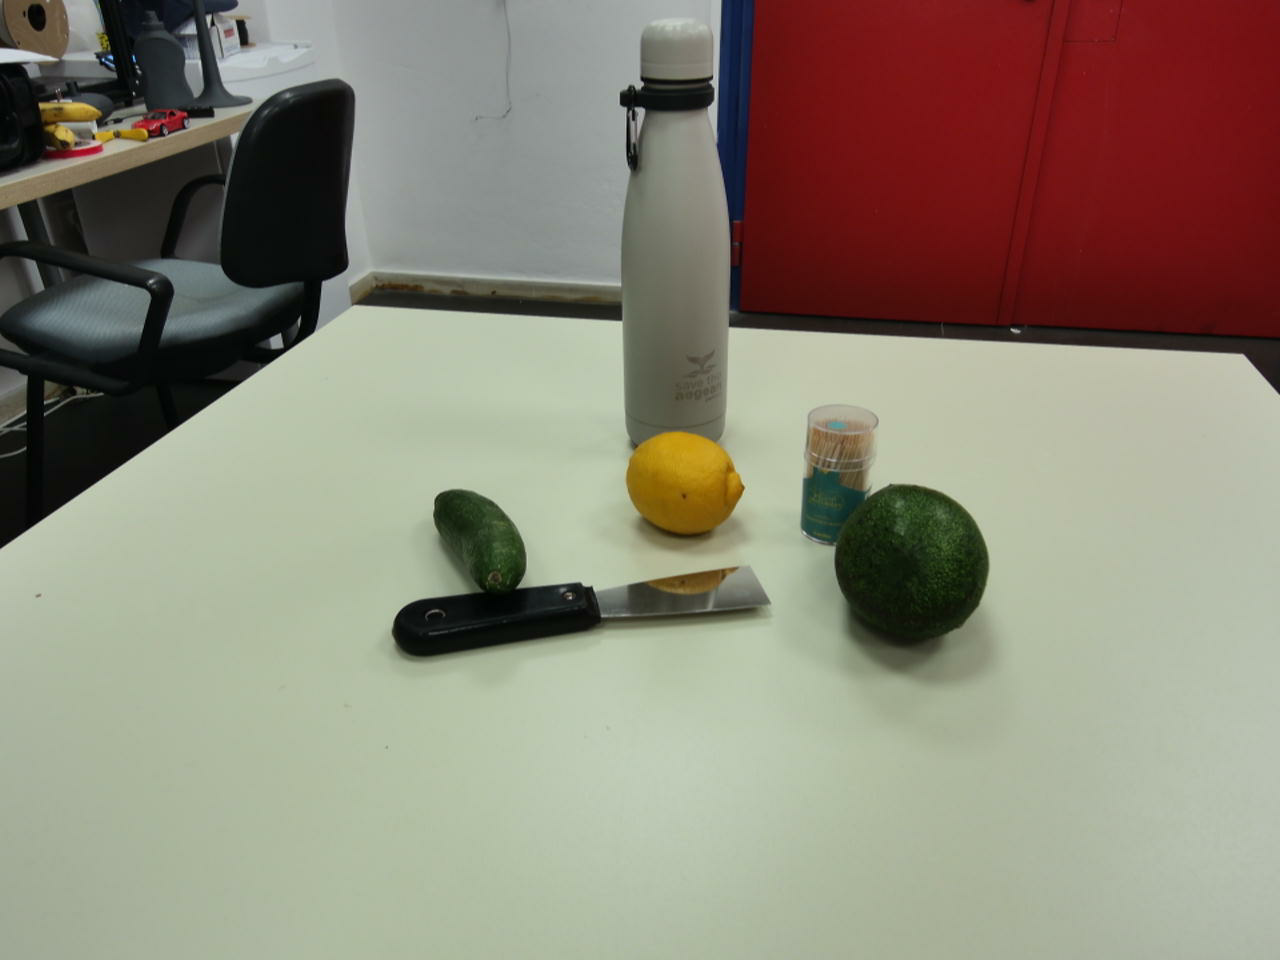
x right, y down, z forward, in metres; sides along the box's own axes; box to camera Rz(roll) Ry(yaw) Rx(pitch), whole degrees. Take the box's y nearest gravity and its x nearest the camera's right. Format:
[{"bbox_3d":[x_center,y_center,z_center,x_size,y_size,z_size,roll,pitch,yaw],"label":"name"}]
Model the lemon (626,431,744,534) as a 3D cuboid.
[{"bbox_3d":[0.025,0.002,0.594,0.060,0.059,0.067,-17,31,-32],"label":"lemon"}]
